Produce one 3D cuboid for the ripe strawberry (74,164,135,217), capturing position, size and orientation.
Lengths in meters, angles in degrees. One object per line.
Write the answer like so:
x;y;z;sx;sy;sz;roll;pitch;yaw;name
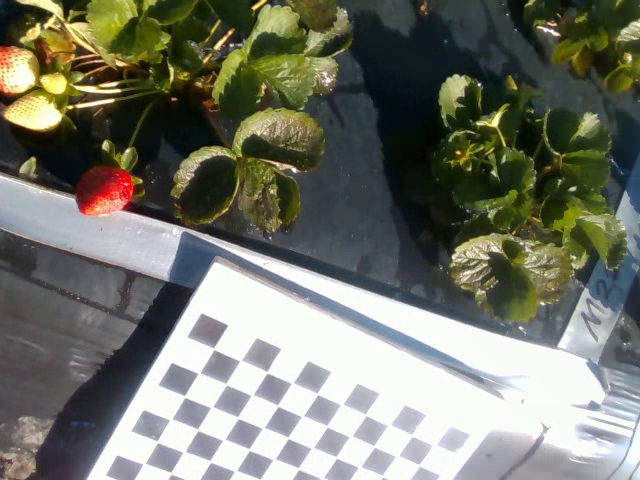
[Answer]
-0.127;-0.024;0.422;0.036;0.038;0.046;27;28;-13;ripe strawberry
